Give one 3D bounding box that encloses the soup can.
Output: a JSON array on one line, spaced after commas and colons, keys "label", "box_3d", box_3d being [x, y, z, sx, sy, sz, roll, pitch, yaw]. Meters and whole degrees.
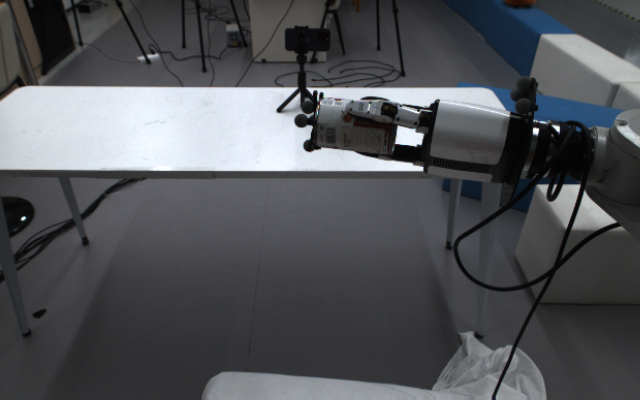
[{"label": "soup can", "box_3d": [0.050, -0.098, 0.635, 0.101, 0.067, 0.067, 7, 35, 10]}]
